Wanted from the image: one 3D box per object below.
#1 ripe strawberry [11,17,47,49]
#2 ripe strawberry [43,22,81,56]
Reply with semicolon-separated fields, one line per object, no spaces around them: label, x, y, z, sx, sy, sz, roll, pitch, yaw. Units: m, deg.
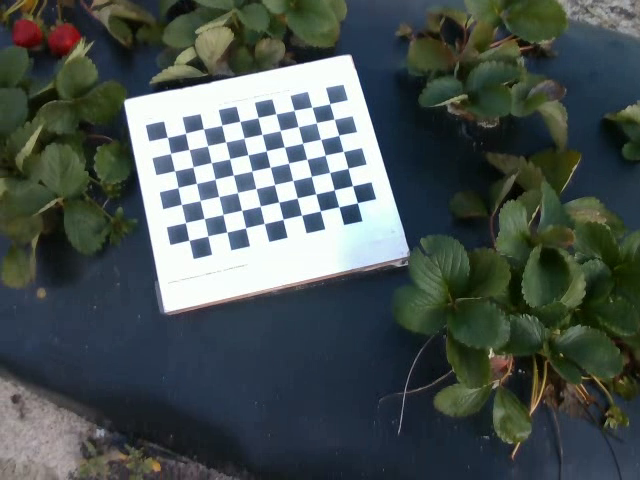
ripe strawberry;-0.448;-0.314;0.834;0.048;0.056;0.041;1;-40;-1
ripe strawberry;-0.386;-0.306;0.826;0.057;0.051;0.064;-32;44;-11
